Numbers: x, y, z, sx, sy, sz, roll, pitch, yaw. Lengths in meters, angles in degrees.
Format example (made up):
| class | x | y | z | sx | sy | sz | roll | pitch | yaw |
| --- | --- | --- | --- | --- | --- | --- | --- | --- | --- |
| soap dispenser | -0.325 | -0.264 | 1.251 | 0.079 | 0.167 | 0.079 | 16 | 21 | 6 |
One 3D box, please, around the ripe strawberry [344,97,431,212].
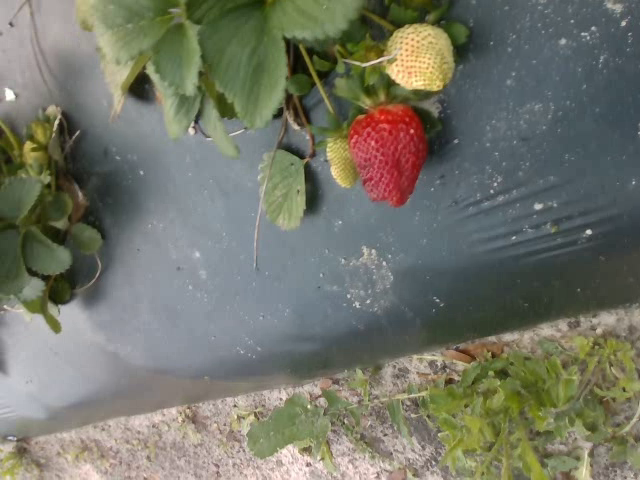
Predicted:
| class | x | y | z | sx | sy | sz | roll | pitch | yaw |
| --- | --- | --- | --- | --- | --- | --- | --- | --- | --- |
| ripe strawberry | 0.037 | -0.041 | 0.313 | 0.045 | 0.059 | 0.046 | 5 | -16 | -40 |
